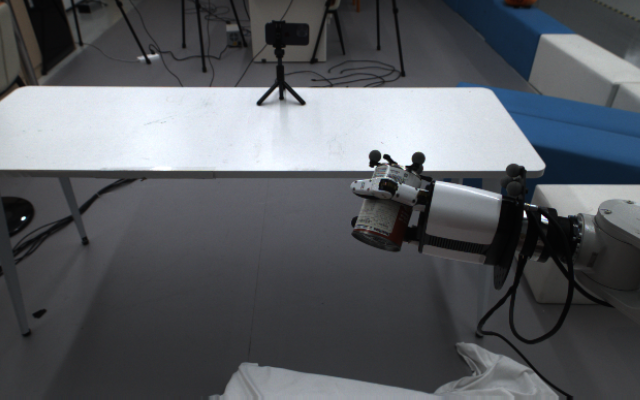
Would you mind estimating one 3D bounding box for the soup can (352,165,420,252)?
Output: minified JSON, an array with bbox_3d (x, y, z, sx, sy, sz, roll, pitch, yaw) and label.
[{"bbox_3d":[0.092,0.009,0.648,0.067,0.067,0.101,15,74,18],"label":"soup can"}]
